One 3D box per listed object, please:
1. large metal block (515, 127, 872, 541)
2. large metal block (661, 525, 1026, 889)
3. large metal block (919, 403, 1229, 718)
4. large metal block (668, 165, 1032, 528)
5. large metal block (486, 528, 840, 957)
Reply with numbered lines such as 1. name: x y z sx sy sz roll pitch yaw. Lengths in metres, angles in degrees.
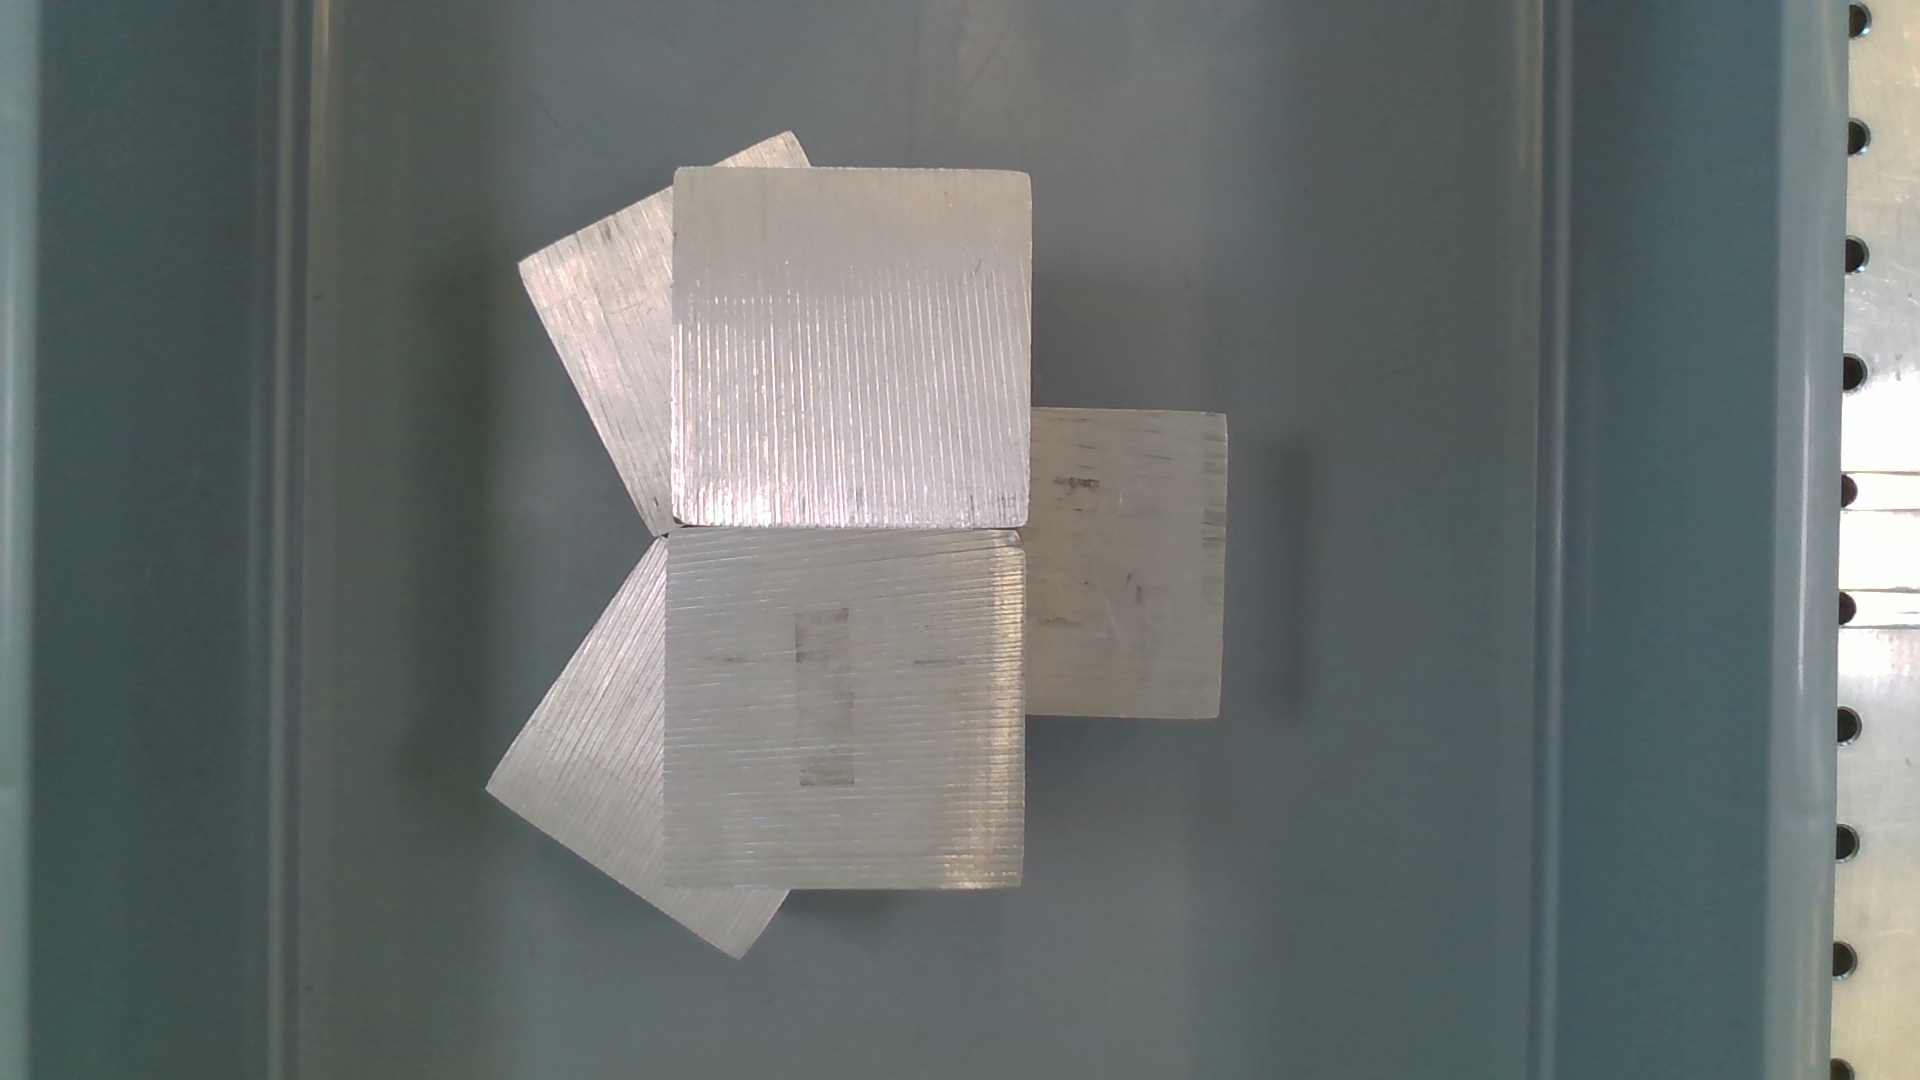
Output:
1. large metal block: -0.062 -0.053 0.382 0.080 0.050 0.080 -26 90 0
2. large metal block: -0.026 0.037 0.331 0.080 0.050 0.080 1 90 0
3. large metal block: 0.029 0.005 0.382 0.080 0.050 0.080 1 90 0
4. large metal block: -0.025 -0.043 0.332 0.080 0.050 0.080 1 90 0
5. large metal block: -0.067 0.053 0.381 0.080 0.050 0.080 34 90 0
